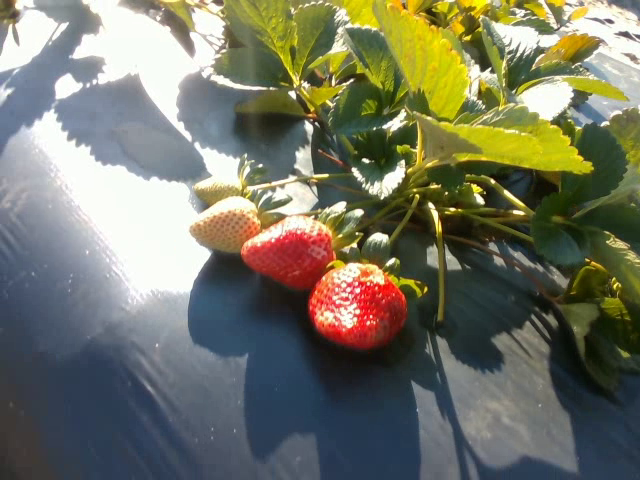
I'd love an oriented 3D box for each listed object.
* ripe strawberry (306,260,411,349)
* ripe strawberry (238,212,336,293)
[{"bbox_3d":[0.018,0.036,0.310,0.056,0.052,0.067,-7,14,12],"label":"ripe strawberry"},{"bbox_3d":[-0.017,0.005,0.337,0.061,0.051,0.043,-2,-28,-36],"label":"ripe strawberry"}]
